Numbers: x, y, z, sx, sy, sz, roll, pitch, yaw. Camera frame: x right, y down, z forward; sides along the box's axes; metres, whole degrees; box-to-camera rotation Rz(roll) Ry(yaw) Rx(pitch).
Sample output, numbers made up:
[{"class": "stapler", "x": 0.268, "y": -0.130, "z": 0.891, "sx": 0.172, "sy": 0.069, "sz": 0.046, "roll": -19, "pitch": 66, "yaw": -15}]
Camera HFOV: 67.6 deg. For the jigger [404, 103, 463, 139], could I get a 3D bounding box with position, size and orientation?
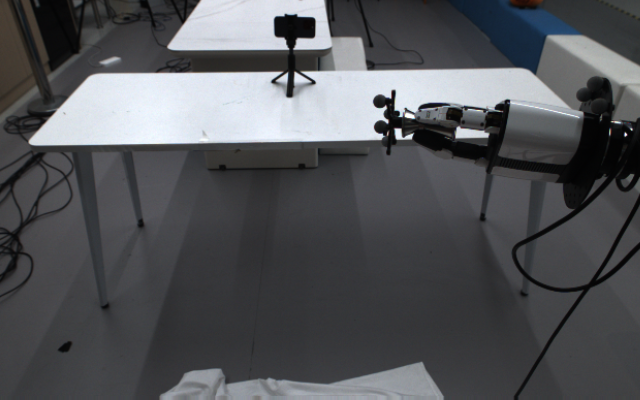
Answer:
[{"class": "jigger", "x": 0.153, "y": -0.107, "z": 0.645, "sx": 0.071, "sy": 0.043, "sz": 0.043, "roll": 3, "pitch": 34, "yaw": 18}]
